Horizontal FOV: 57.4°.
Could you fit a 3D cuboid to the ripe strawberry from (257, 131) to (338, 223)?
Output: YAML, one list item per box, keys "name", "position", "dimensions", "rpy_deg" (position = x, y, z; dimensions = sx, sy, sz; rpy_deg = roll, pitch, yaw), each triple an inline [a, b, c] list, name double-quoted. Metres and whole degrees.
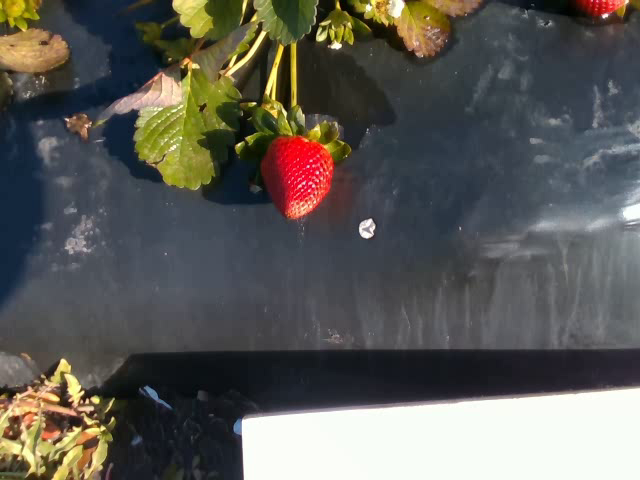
- name: "ripe strawberry"
  position: [-0.012, -0.029, 0.290]
  dimensions: [0.045, 0.055, 0.042]
  rpy_deg: [4, -40, -5]
